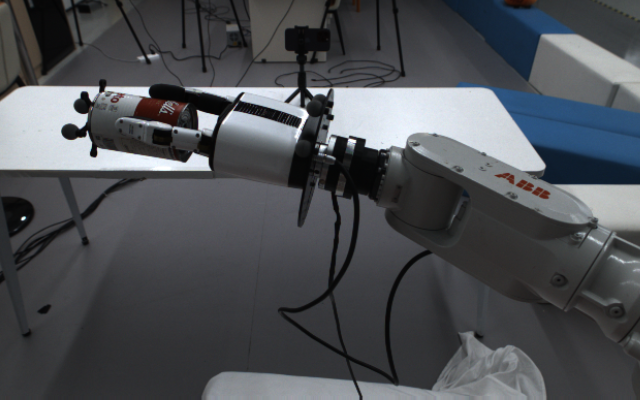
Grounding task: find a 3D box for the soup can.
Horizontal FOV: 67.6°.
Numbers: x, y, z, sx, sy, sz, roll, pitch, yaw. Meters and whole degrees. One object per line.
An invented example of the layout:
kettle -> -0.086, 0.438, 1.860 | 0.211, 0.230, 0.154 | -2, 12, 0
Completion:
soup can -> -0.198, -0.083, 0.553 | 0.101, 0.067, 0.067 | 9, 35, 2
